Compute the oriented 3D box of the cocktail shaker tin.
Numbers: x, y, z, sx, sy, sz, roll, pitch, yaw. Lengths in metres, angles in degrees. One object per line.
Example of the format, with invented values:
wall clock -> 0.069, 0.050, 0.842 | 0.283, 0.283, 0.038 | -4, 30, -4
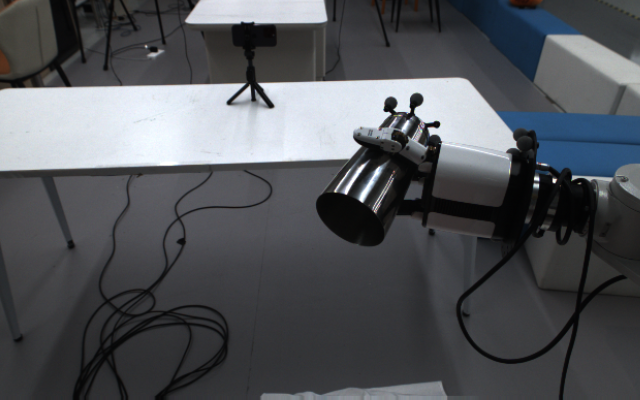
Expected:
cocktail shaker tin -> 0.079, -0.040, 0.609 | 0.093, 0.093, 0.170 | 19, 55, 22
